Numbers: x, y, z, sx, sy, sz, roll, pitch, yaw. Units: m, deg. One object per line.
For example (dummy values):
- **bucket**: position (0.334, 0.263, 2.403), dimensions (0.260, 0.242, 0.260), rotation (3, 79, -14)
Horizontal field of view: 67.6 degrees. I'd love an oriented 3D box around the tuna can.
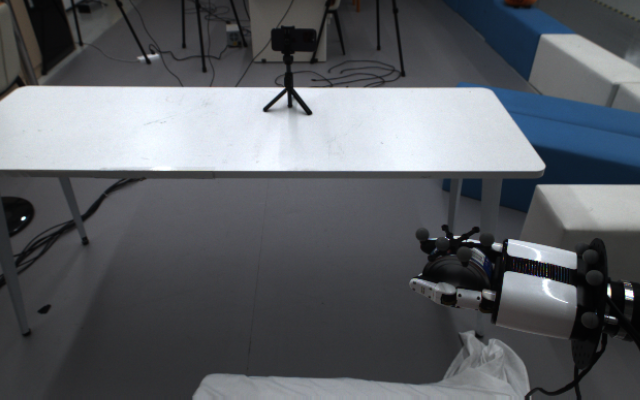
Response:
- **tuna can**: position (0.181, 0.095, 0.629), dimensions (0.085, 0.085, 0.034), rotation (17, 37, 20)
